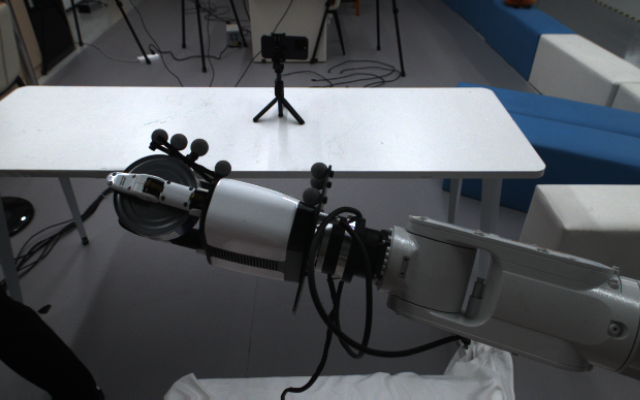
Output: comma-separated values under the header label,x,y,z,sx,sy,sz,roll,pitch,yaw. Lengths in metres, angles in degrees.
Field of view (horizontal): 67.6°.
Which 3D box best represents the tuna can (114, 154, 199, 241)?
label,x,y,z,sx,sy,sz,roll,pitch,yaw
tuna can,-0.163,-0.002,0.504,0.085,0.034,0.085,0,72,0
